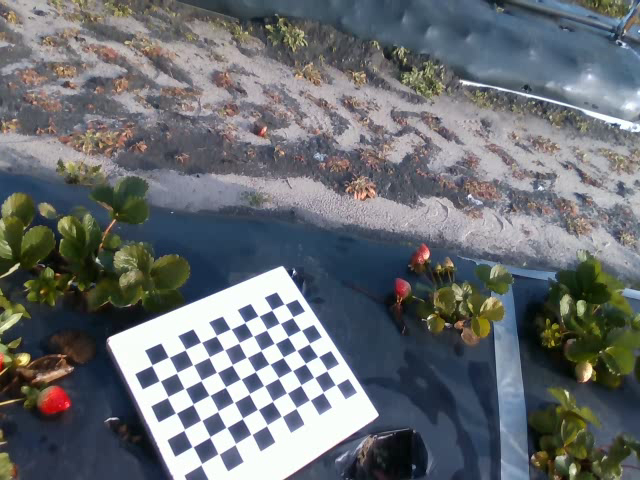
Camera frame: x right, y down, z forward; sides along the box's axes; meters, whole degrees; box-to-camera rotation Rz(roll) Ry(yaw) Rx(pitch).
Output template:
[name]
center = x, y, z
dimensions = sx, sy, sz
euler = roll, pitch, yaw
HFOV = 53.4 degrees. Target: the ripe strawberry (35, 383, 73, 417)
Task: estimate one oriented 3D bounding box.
[ripe strawberry]
center = -0.318, 0.194, 0.757
dimensions = 0.043, 0.035, 0.029
euler = 23, -40, 0
